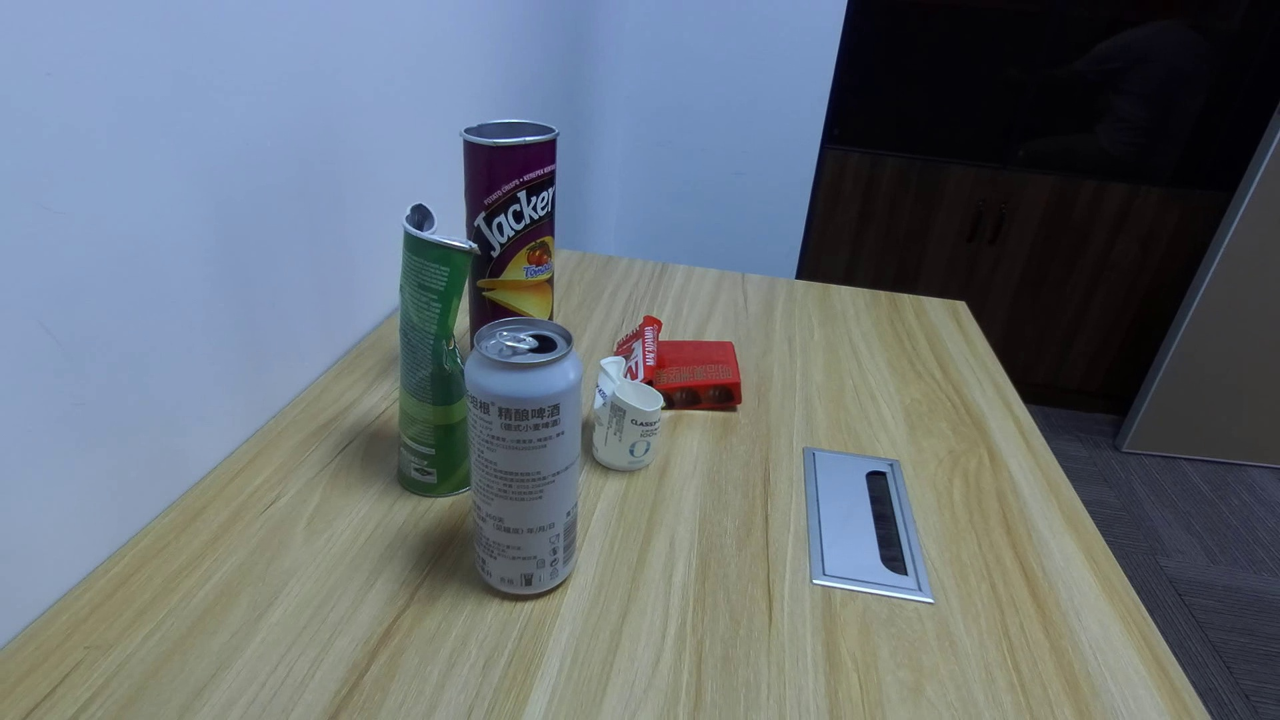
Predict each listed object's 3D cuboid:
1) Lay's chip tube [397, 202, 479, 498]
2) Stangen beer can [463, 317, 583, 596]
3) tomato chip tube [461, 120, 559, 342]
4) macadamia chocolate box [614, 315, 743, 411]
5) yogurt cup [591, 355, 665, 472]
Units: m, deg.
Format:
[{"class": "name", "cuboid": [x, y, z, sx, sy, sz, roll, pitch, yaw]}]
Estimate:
[{"class": "Lay's chip tube", "cuboid": [-0.145, -0.001, 0.505, 0.077, 0.201, 0.069, 19, 31, 19]}, {"class": "Stangen beer can", "cuboid": [-0.070, 0.062, 0.431, 0.067, 0.171, 0.067, 3, 28, -1]}, {"class": "tomato chip tube", "cuboid": [-0.110, -0.078, 0.613, 0.080, 0.234, 0.076, -8, 28, -25]}, {"class": "macadamia chocolate box", "cuboid": [0.033, 0.011, 0.678, 0.126, 0.056, 0.112, 7, 44, 0]}, {"class": "yogurt cup", "cuboid": [-0.010, 0.045, 0.569, 0.075, 0.071, 0.054, 25, 34, 30]}]
